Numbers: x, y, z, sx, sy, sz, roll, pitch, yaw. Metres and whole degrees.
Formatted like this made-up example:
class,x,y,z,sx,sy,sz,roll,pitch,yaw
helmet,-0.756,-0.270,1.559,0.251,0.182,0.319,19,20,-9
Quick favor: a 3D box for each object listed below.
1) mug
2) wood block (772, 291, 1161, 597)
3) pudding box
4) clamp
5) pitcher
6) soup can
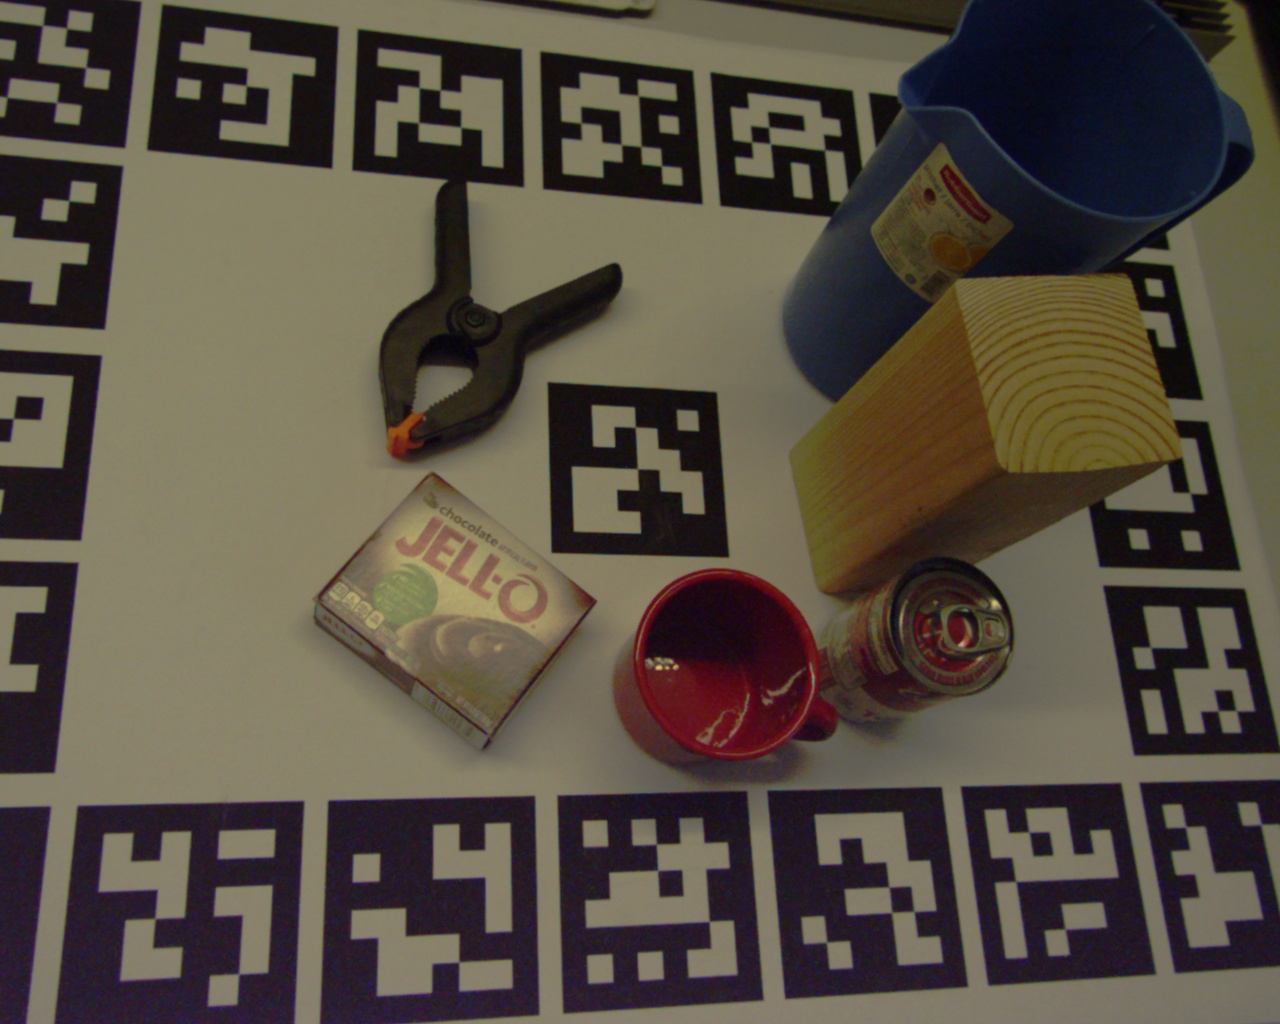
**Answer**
class,x,y,z,sx,sy,sz,roll,pitch,yaw
mug,0.043,0.096,0.603,0.117,0.082,0.093,35,65,1
wood block,0.158,-0.026,0.603,0.089,0.207,0.091,-1,71,-18
pudding box,-0.103,0.056,0.609,0.114,0.039,0.089,36,70,2
clamp,-0.093,-0.095,0.670,0.121,0.037,0.165,31,67,-9
pitcher,0.179,-0.145,0.633,0.188,0.243,0.134,0,69,-11
soup can,0.134,0.076,0.619,0.067,0.102,0.068,4,73,-13
